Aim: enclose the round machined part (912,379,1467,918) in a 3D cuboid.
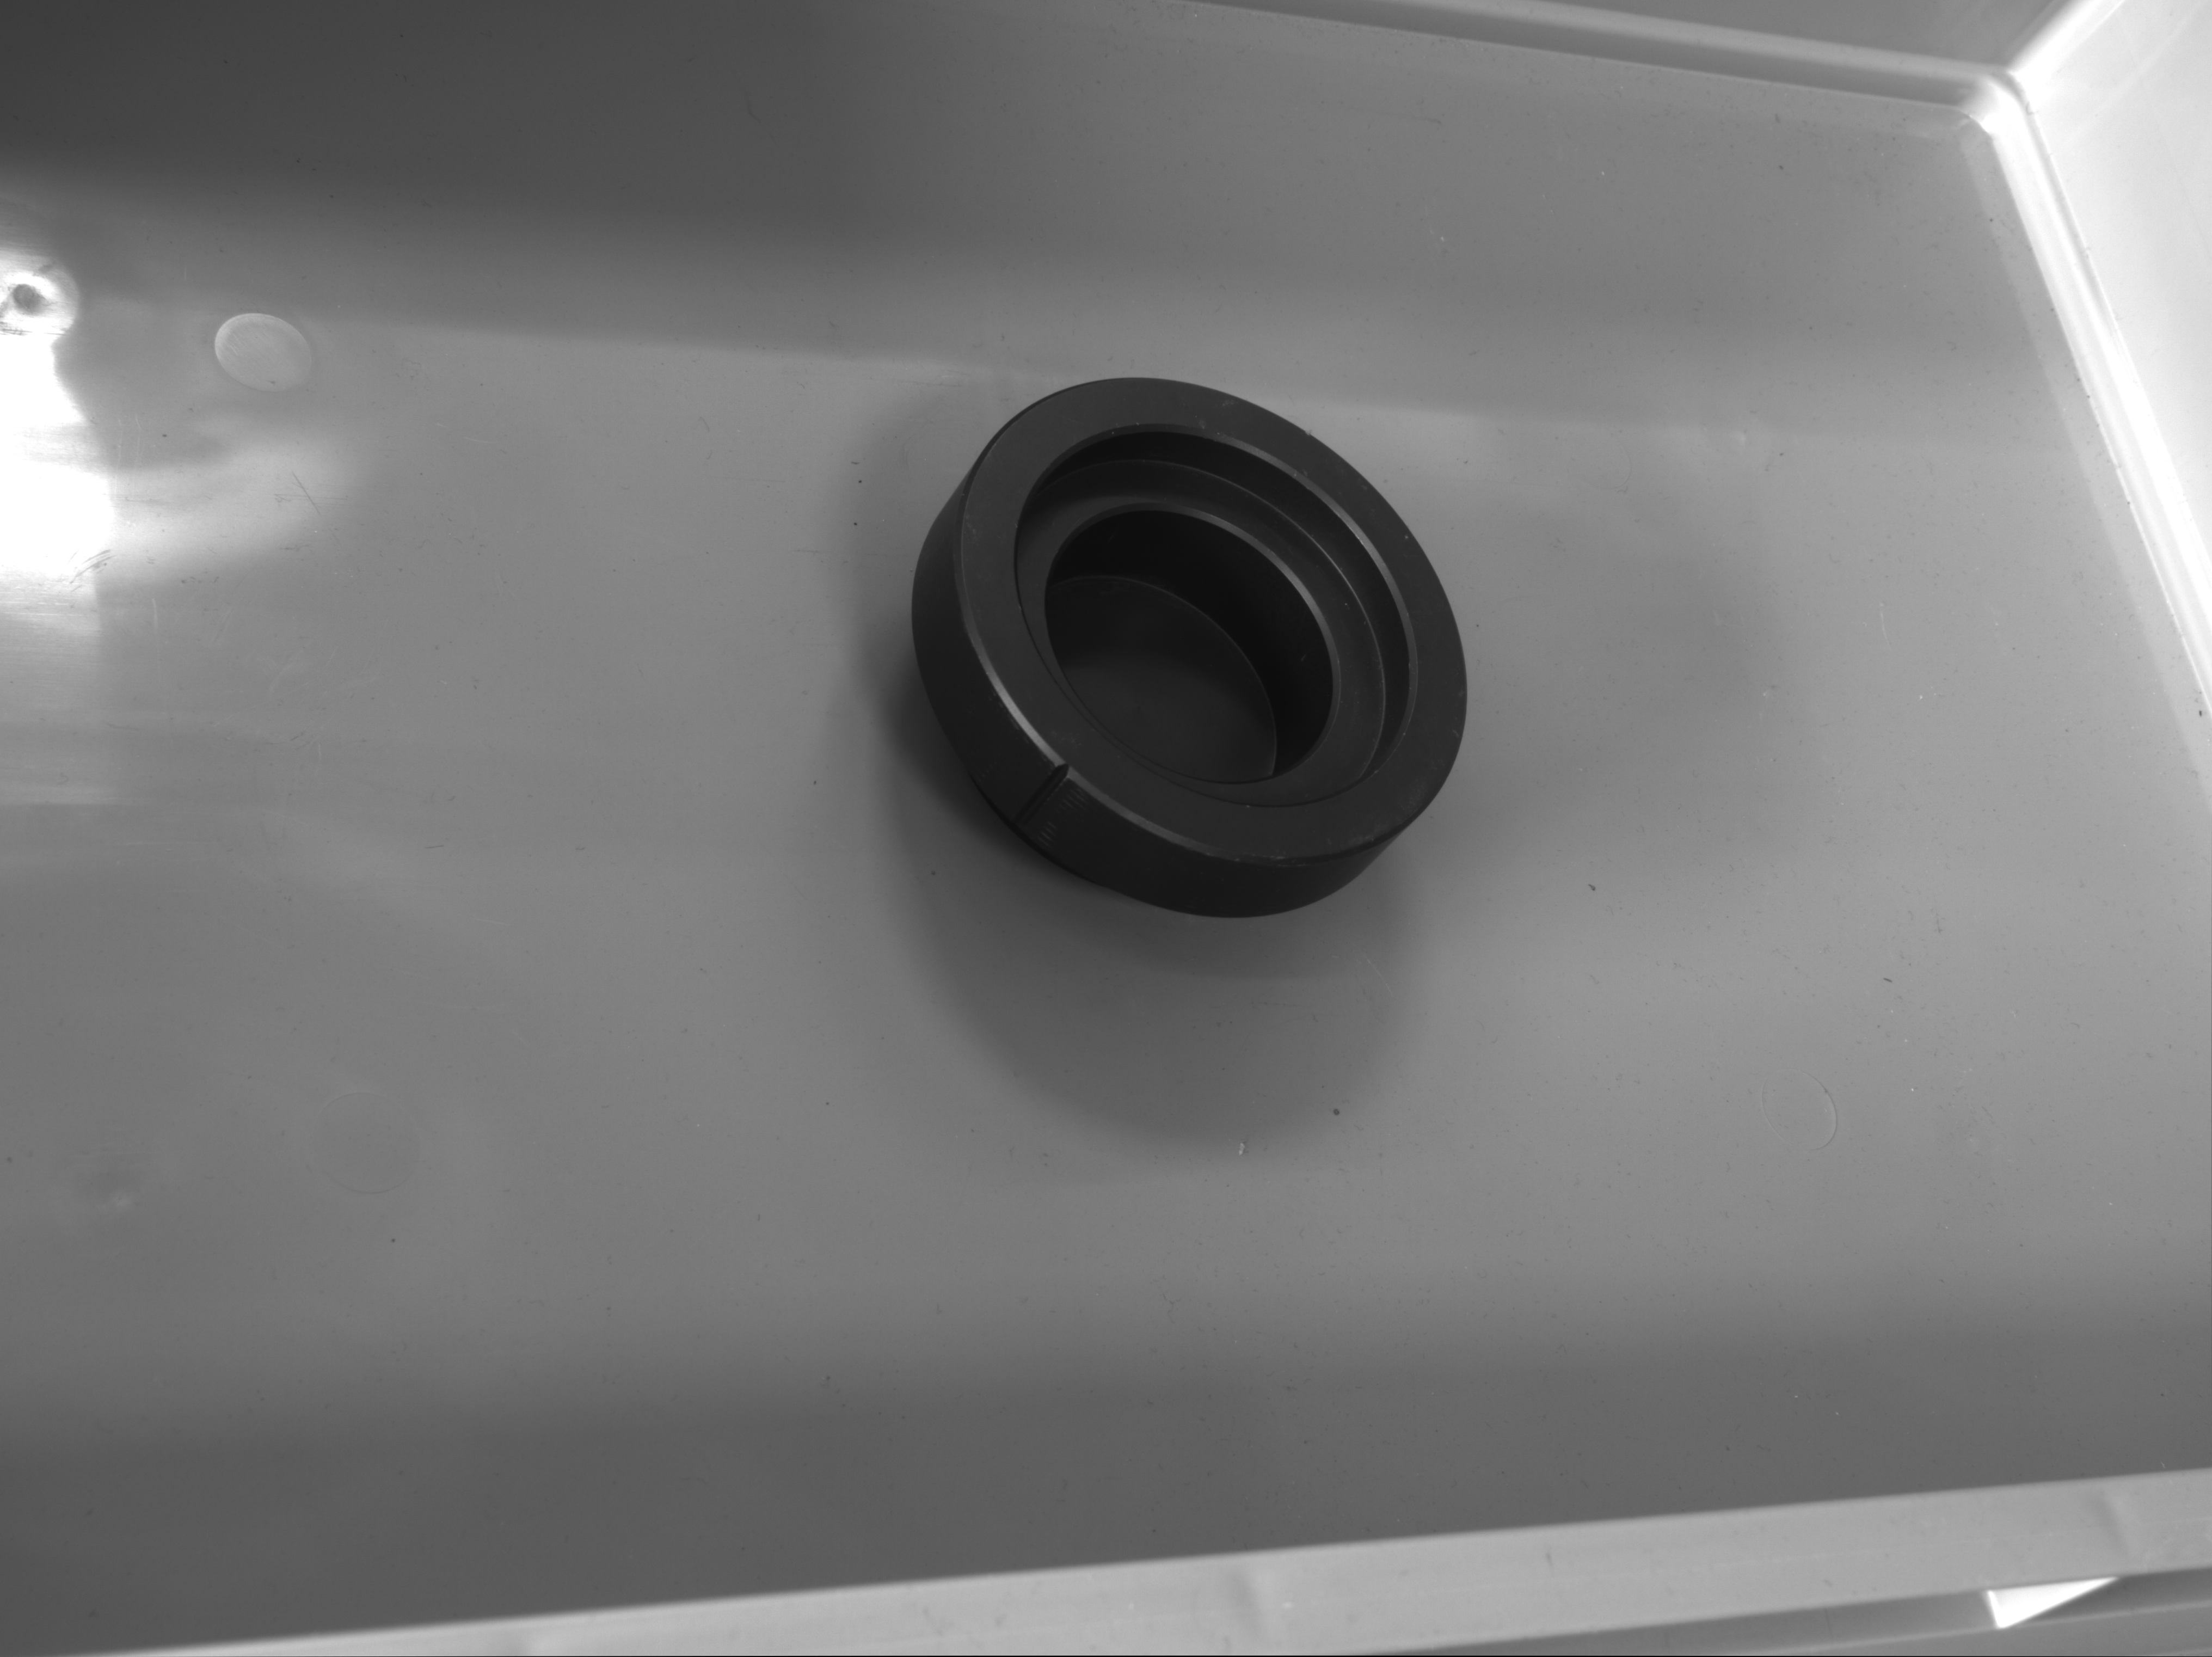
[{"bbox_3d":[0.011,-0.027,0.648,0.098,0.042,0.098,13,56,-21],"label":"round machined part"}]
